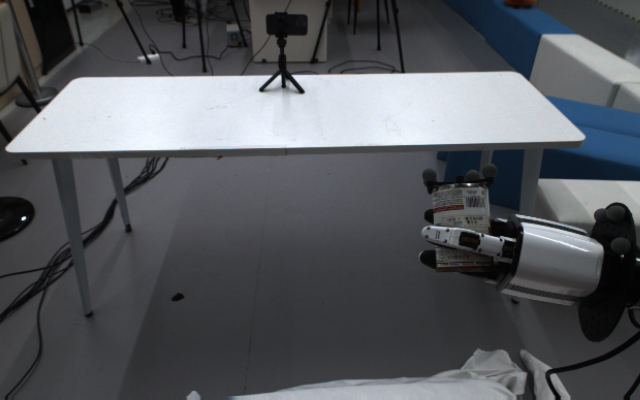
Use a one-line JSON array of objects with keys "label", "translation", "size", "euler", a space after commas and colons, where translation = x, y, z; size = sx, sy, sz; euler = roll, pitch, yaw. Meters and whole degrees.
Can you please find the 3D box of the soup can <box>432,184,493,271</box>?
[{"label": "soup can", "translation": [0.173, 0.036, 0.583], "size": [0.067, 0.101, 0.067], "euler": [-1, -9, 0]}]
